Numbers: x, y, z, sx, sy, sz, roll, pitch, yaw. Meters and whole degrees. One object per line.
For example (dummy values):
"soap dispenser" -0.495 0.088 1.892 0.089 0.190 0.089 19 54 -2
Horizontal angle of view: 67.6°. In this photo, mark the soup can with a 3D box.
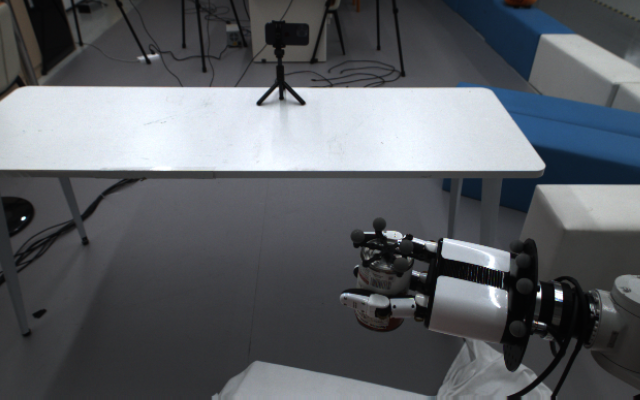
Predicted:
"soup can" 0.082 0.108 0.617 0.067 0.101 0.067 2 32 -1
